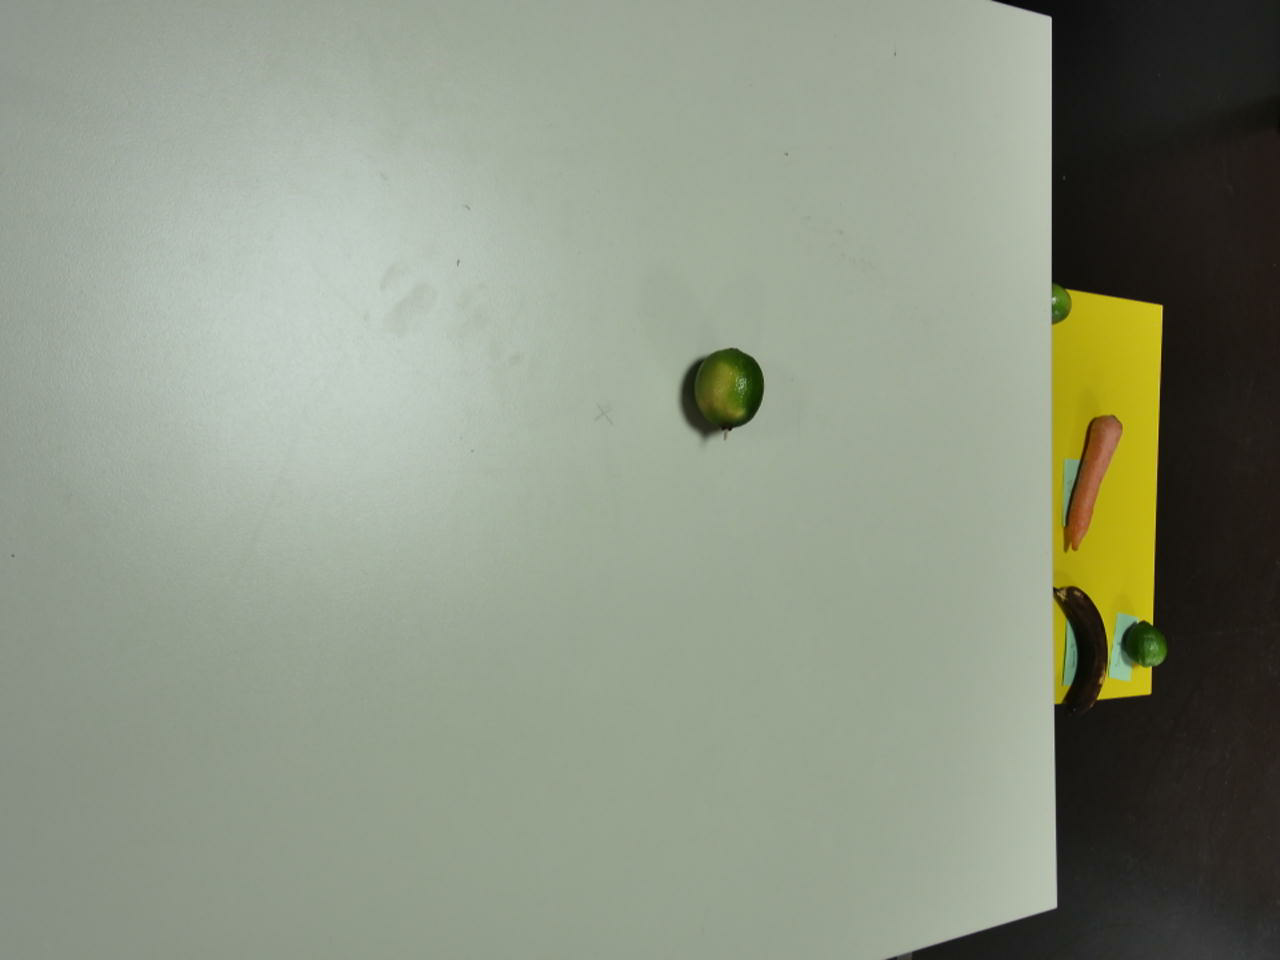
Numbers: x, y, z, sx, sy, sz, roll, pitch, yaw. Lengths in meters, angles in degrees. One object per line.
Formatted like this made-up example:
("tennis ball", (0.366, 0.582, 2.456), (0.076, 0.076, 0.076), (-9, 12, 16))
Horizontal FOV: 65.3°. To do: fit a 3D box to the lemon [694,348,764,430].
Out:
("lemon", (0.065, -0.067, 0.727), (0.055, 0.050, 0.054), (-44, 110, -21))
